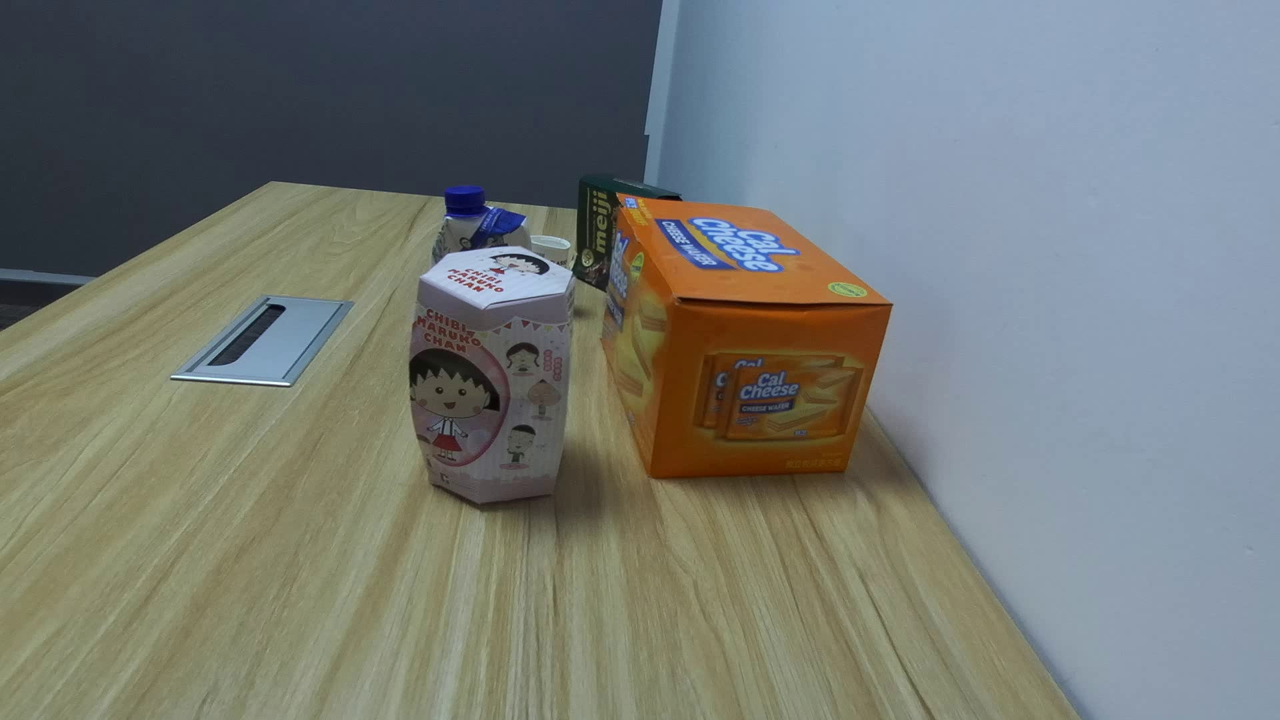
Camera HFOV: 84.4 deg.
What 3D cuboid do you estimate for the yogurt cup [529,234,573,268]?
[{"bbox_3d":[-0.103,-0.089,0.677,0.075,0.071,0.053,12,27,5],"label":"yogurt cup"}]

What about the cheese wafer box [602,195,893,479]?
[{"bbox_3d":[0.063,-0.030,0.541,0.150,0.137,0.226,1,27,-13],"label":"cheese wafer box"}]

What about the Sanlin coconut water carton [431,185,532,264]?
[{"bbox_3d":[-0.121,-0.054,0.537,0.068,0.144,0.057,13,26,5],"label":"Sanlin coconut water carton"}]

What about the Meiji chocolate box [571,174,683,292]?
[{"bbox_3d":[-0.015,-0.124,0.720,0.059,0.116,0.122,-11,30,-36],"label":"Meiji chocolate box"}]
